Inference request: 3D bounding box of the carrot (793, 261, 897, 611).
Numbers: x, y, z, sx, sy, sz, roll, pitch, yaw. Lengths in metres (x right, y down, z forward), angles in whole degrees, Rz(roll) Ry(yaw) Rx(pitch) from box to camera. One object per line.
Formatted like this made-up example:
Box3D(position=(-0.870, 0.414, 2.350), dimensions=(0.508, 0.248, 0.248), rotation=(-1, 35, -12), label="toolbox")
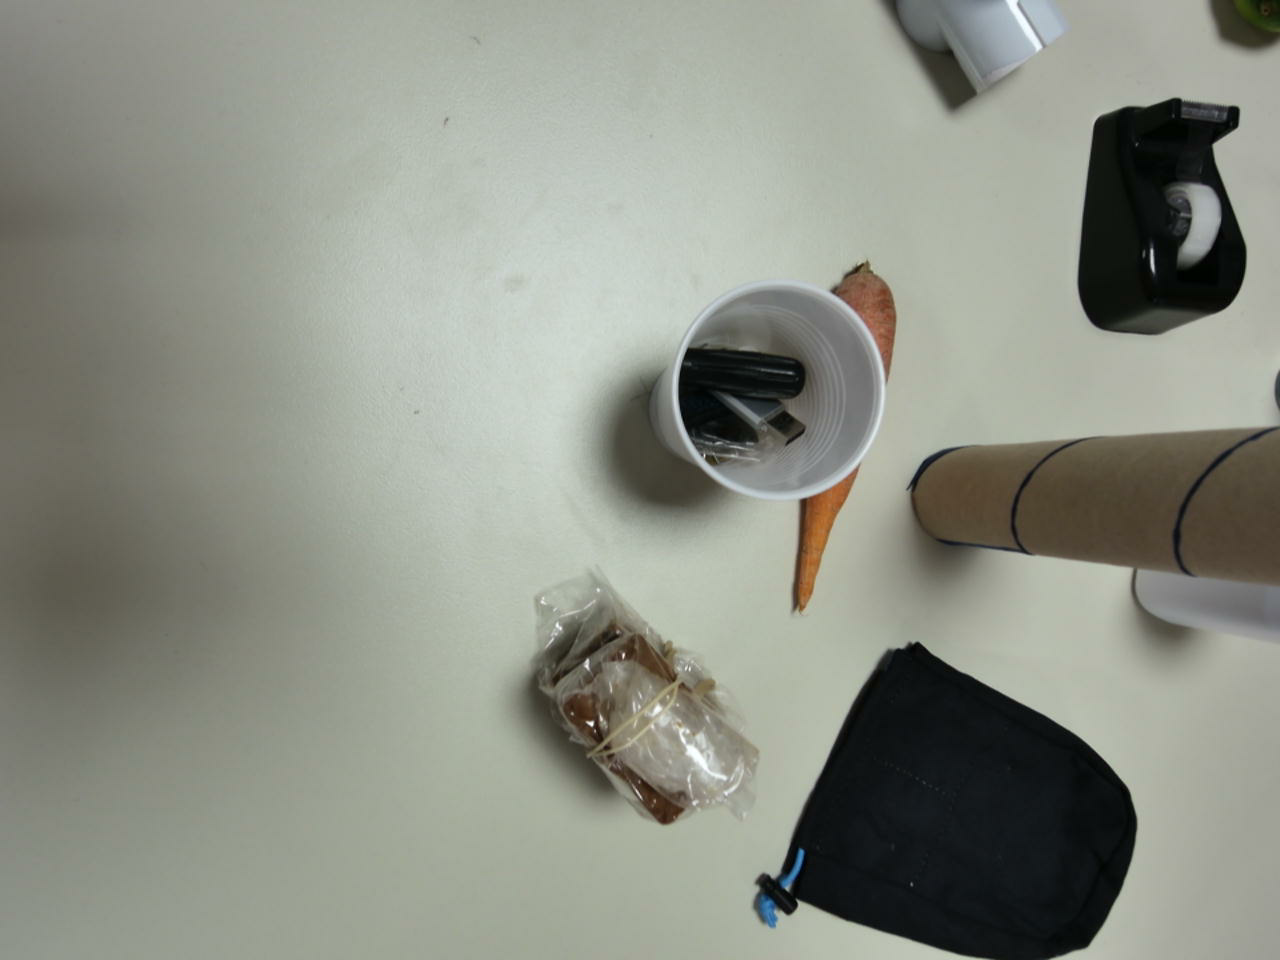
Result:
Box3D(position=(0.094, -0.020, 0.461), dimensions=(0.031, 0.029, 0.163), rotation=(9, 88, -12), label="carrot")
